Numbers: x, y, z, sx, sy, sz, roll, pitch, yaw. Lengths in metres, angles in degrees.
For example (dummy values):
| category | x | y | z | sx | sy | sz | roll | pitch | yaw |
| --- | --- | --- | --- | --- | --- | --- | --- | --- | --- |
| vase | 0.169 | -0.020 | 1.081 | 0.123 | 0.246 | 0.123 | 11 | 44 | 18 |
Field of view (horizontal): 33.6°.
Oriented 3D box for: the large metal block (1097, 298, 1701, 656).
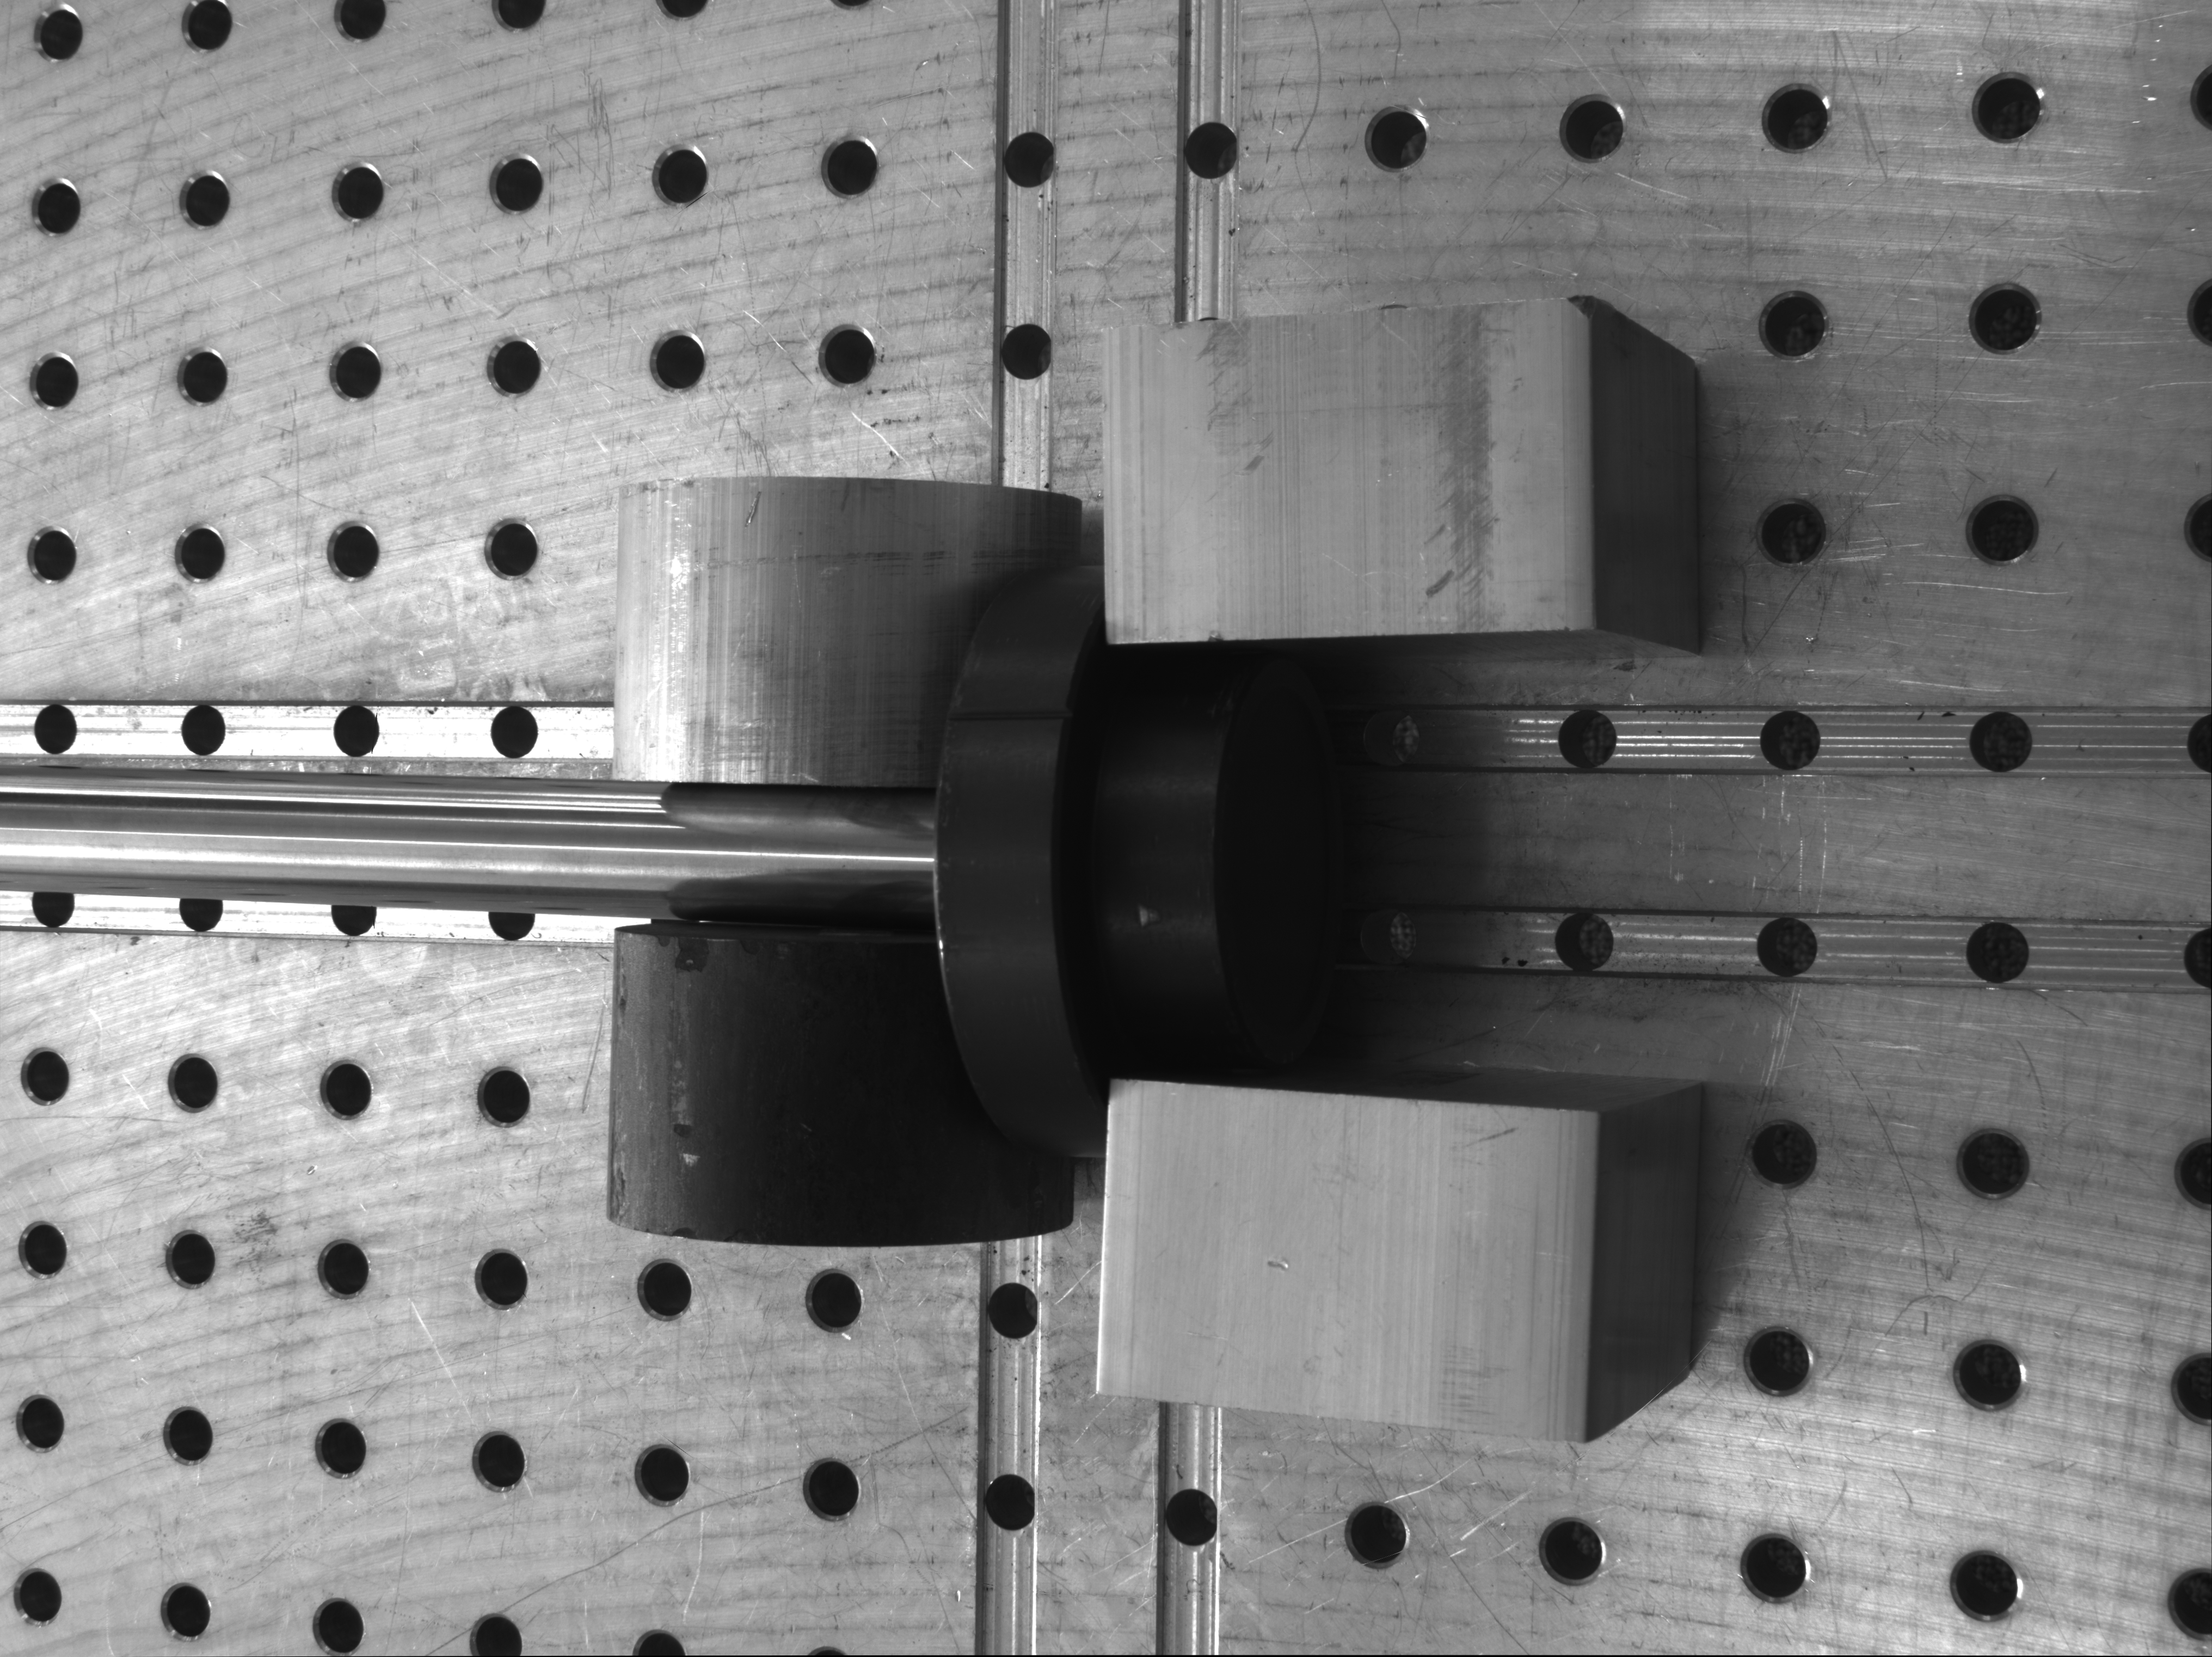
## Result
| category | x | y | z | sx | sy | sz | roll | pitch | yaw |
| --- | --- | --- | --- | --- | --- | --- | --- | --- | --- |
| large metal block | 0.050 | -0.054 | 0.602 | 0.080 | 0.080 | 0.050 | 0 | 90 | 20 |

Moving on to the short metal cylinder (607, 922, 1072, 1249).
| category | x | y | z | sx | sy | sz | roll | pitch | yaw |
| --- | --- | --- | --- | --- | --- | --- | --- | --- | --- |
| short metal cylinder | -0.046 | 0.043 | 0.635 | 0.080 | 0.080 | 0.050 | 1 | 91 | 20 |

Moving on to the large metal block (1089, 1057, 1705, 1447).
| category | x | y | z | sx | sy | sz | roll | pitch | yaw |
| --- | --- | --- | --- | --- | --- | --- | --- | --- | --- |
| large metal block | 0.050 | 0.066 | 0.602 | 0.080 | 0.080 | 0.050 | 3 | 91 | 20 |

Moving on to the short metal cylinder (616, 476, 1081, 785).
| category | x | y | z | sx | sy | sz | roll | pitch | yaw |
| --- | --- | --- | --- | --- | --- | --- | --- | --- | --- |
| short metal cylinder | -0.044 | -0.033 | 0.636 | 0.080 | 0.080 | 0.050 | 1 | 91 | 20 |

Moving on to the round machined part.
| category | x | y | z | sx | sy | sz | roll | pitch | yaw |
| --- | --- | --- | --- | --- | --- | --- | --- | --- | --- |
| round machined part | 0.010 | 0.006 | 0.606 | 0.042 | 0.098 | 0.098 | 1 | 90 | 20 |

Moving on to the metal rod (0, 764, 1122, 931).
| category | x | y | z | sx | sy | sz | roll | pitch | yaw |
| --- | --- | --- | --- | --- | --- | --- | --- | --- | --- |
| metal rod | -0.116 | 0.003 | 0.678 | 0.299 | 0.025 | 0.025 | 2 | 91 | 24 |
